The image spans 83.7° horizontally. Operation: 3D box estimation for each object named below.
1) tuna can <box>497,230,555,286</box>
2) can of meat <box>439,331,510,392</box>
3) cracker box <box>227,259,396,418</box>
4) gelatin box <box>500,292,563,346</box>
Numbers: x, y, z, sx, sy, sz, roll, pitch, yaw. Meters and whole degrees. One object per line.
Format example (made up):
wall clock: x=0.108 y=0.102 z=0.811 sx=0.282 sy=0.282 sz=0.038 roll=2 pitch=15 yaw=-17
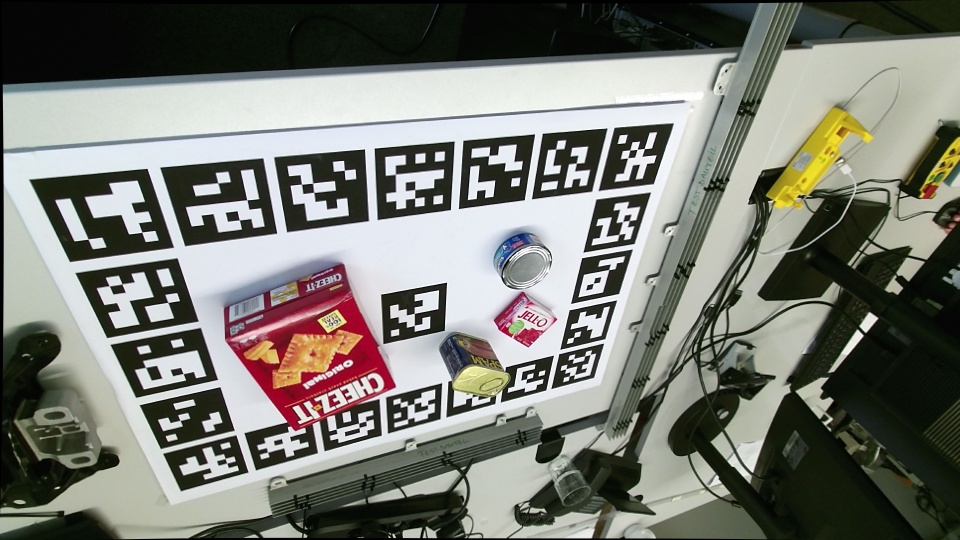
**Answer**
tuna can: x=0.071 y=-0.019 z=0.835 sx=0.086 sy=0.033 sz=0.086 roll=-13 pitch=127 yaw=-18
can of meat: x=-0.012 y=0.154 z=0.911 sx=0.102 sy=0.083 sz=0.058 roll=18 pitch=116 yaw=-37
cracker box: x=-0.231 y=0.106 z=0.770 sx=0.165 sy=0.071 sz=0.214 roll=-22 pitch=134 yaw=-8
gelatin box: x=0.090 y=0.088 z=0.935 sx=0.073 sy=0.030 sz=0.090 roll=-44 pitch=129 yaw=15
